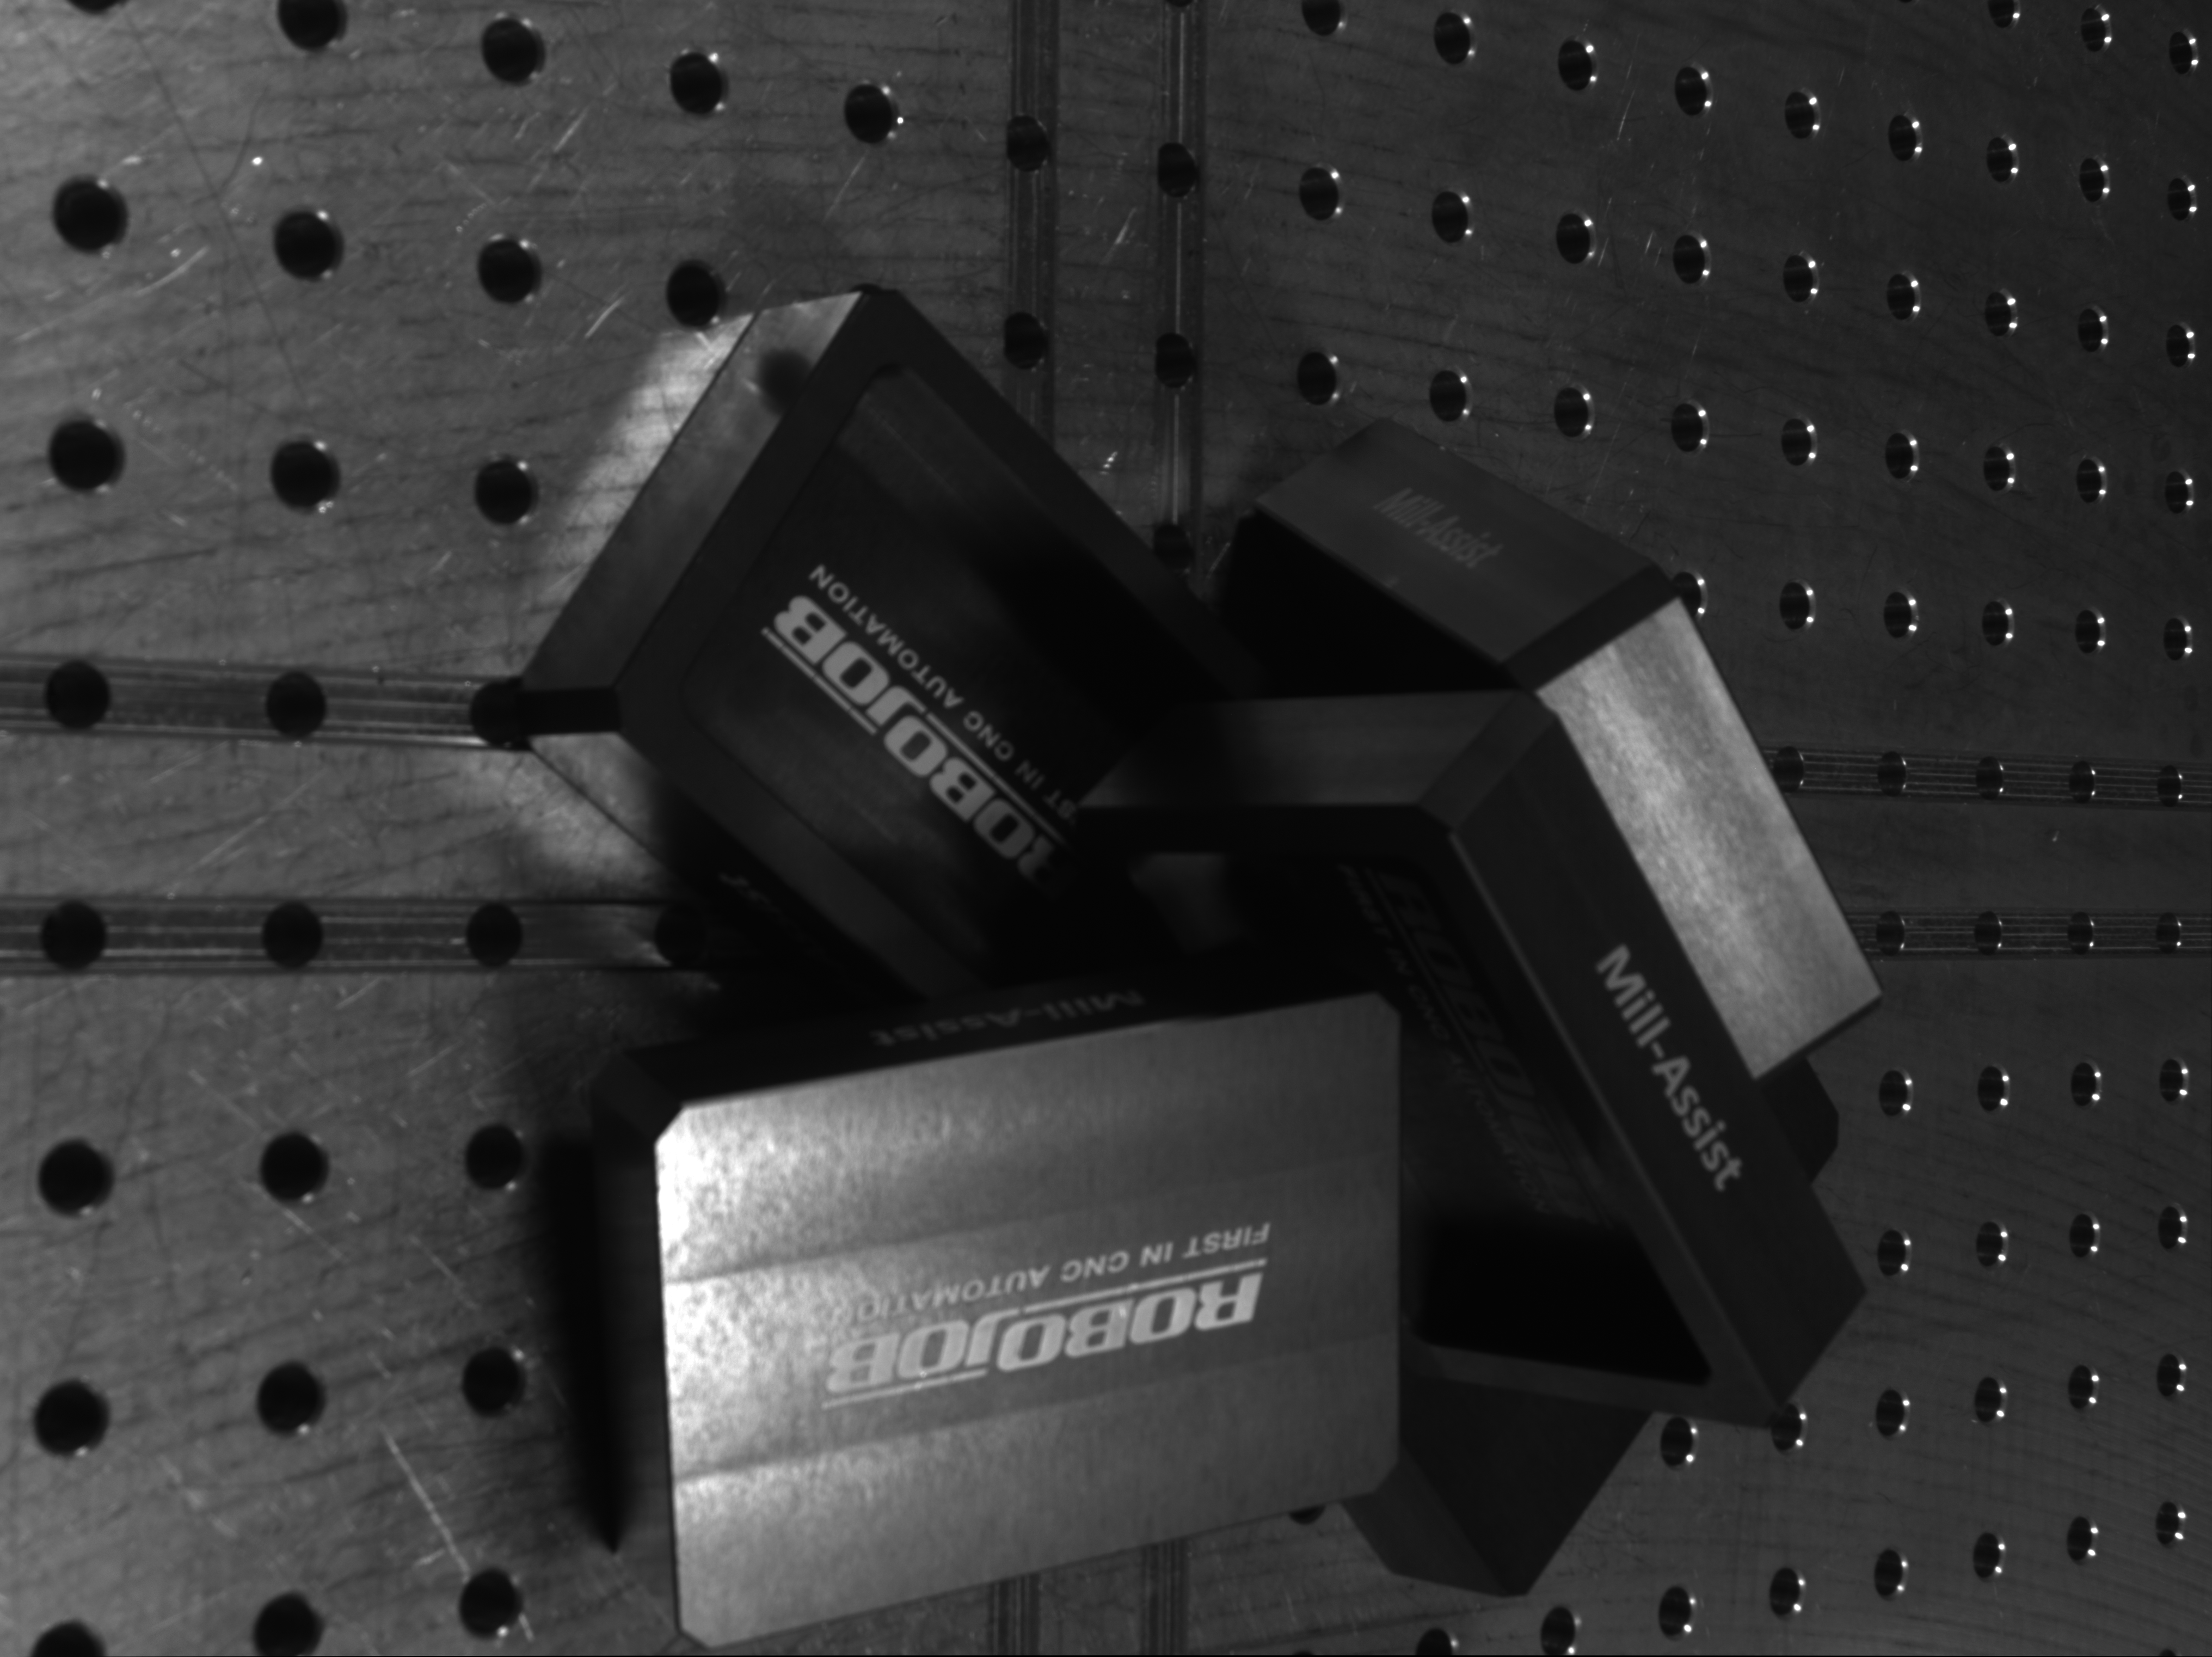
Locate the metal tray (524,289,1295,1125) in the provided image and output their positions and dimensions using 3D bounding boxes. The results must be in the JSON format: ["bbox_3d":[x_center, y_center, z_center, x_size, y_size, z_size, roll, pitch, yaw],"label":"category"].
[{"bbox_3d":[-0.024,-0.015,0.617,0.130,0.030,0.090,44,64,-31],"label":"metal tray"}]

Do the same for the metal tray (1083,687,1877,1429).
[{"bbox_3d":[0.062,0.038,0.610,0.030,0.090,0.130,-46,117,-30],"label":"metal tray"}]

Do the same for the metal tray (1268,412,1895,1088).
[{"bbox_3d":[0.080,-0.016,0.639,0.030,0.130,0.090,-33,113,-4],"label":"metal tray"}]

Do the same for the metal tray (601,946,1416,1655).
[{"bbox_3d":[-0.013,0.074,0.595,0.130,0.030,0.090,-8,106,-25],"label":"metal tray"}]

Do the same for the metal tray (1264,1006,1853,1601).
[{"bbox_3d":[0.085,0.071,0.706,0.130,0.030,0.090,-49,119,-29],"label":"metal tray"}]
